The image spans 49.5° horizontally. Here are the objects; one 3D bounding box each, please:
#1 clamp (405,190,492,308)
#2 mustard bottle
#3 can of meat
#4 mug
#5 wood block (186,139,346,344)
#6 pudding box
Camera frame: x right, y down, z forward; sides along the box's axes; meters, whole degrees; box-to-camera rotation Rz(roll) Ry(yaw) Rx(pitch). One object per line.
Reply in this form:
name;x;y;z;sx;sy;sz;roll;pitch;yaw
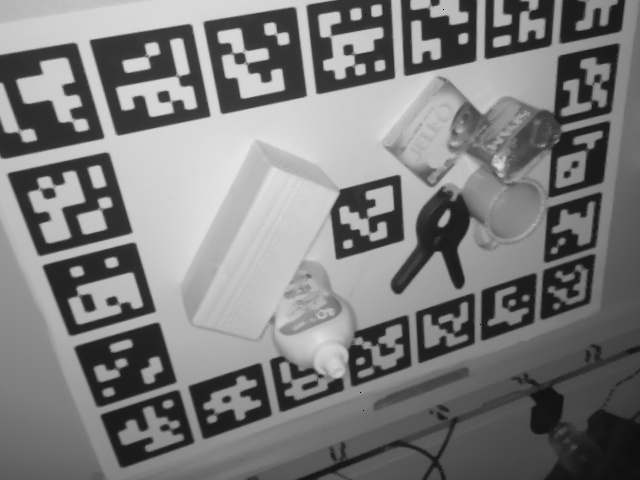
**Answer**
clamp;0.185;0.016;0.922;0.123;0.036;0.163;3;111;-20
mustard bottle;0.007;0.107;0.802;0.097;0.191;0.058;-19;120;-10
can of meat;0.264;-0.122;0.846;0.102;0.083;0.058;-41;120;3
mug;0.259;-0.038;0.918;0.094;0.081;0.116;6;111;-23
wood block;-0.062;0.005;0.790;0.091;0.091;0.204;21;108;-29
pudding box;0.160;-0.127;0.836;0.090;0.038;0.113;36;100;-30
